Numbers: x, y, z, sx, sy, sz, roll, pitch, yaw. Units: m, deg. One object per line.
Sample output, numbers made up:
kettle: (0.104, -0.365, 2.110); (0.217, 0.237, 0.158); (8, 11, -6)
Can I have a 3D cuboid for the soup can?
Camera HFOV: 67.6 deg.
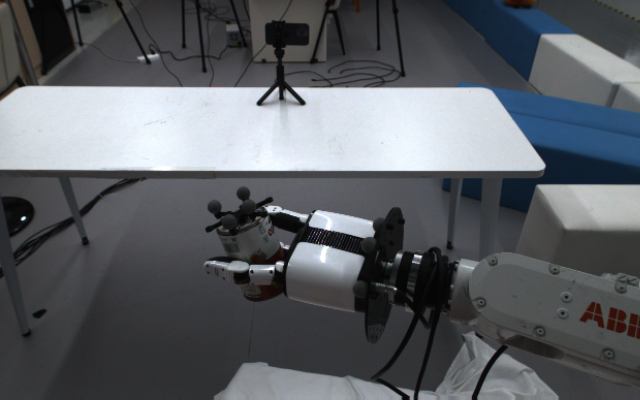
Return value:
soup can: (-0.079, 0.067, 0.607); (0.067, 0.101, 0.067); (-16, 23, 7)
